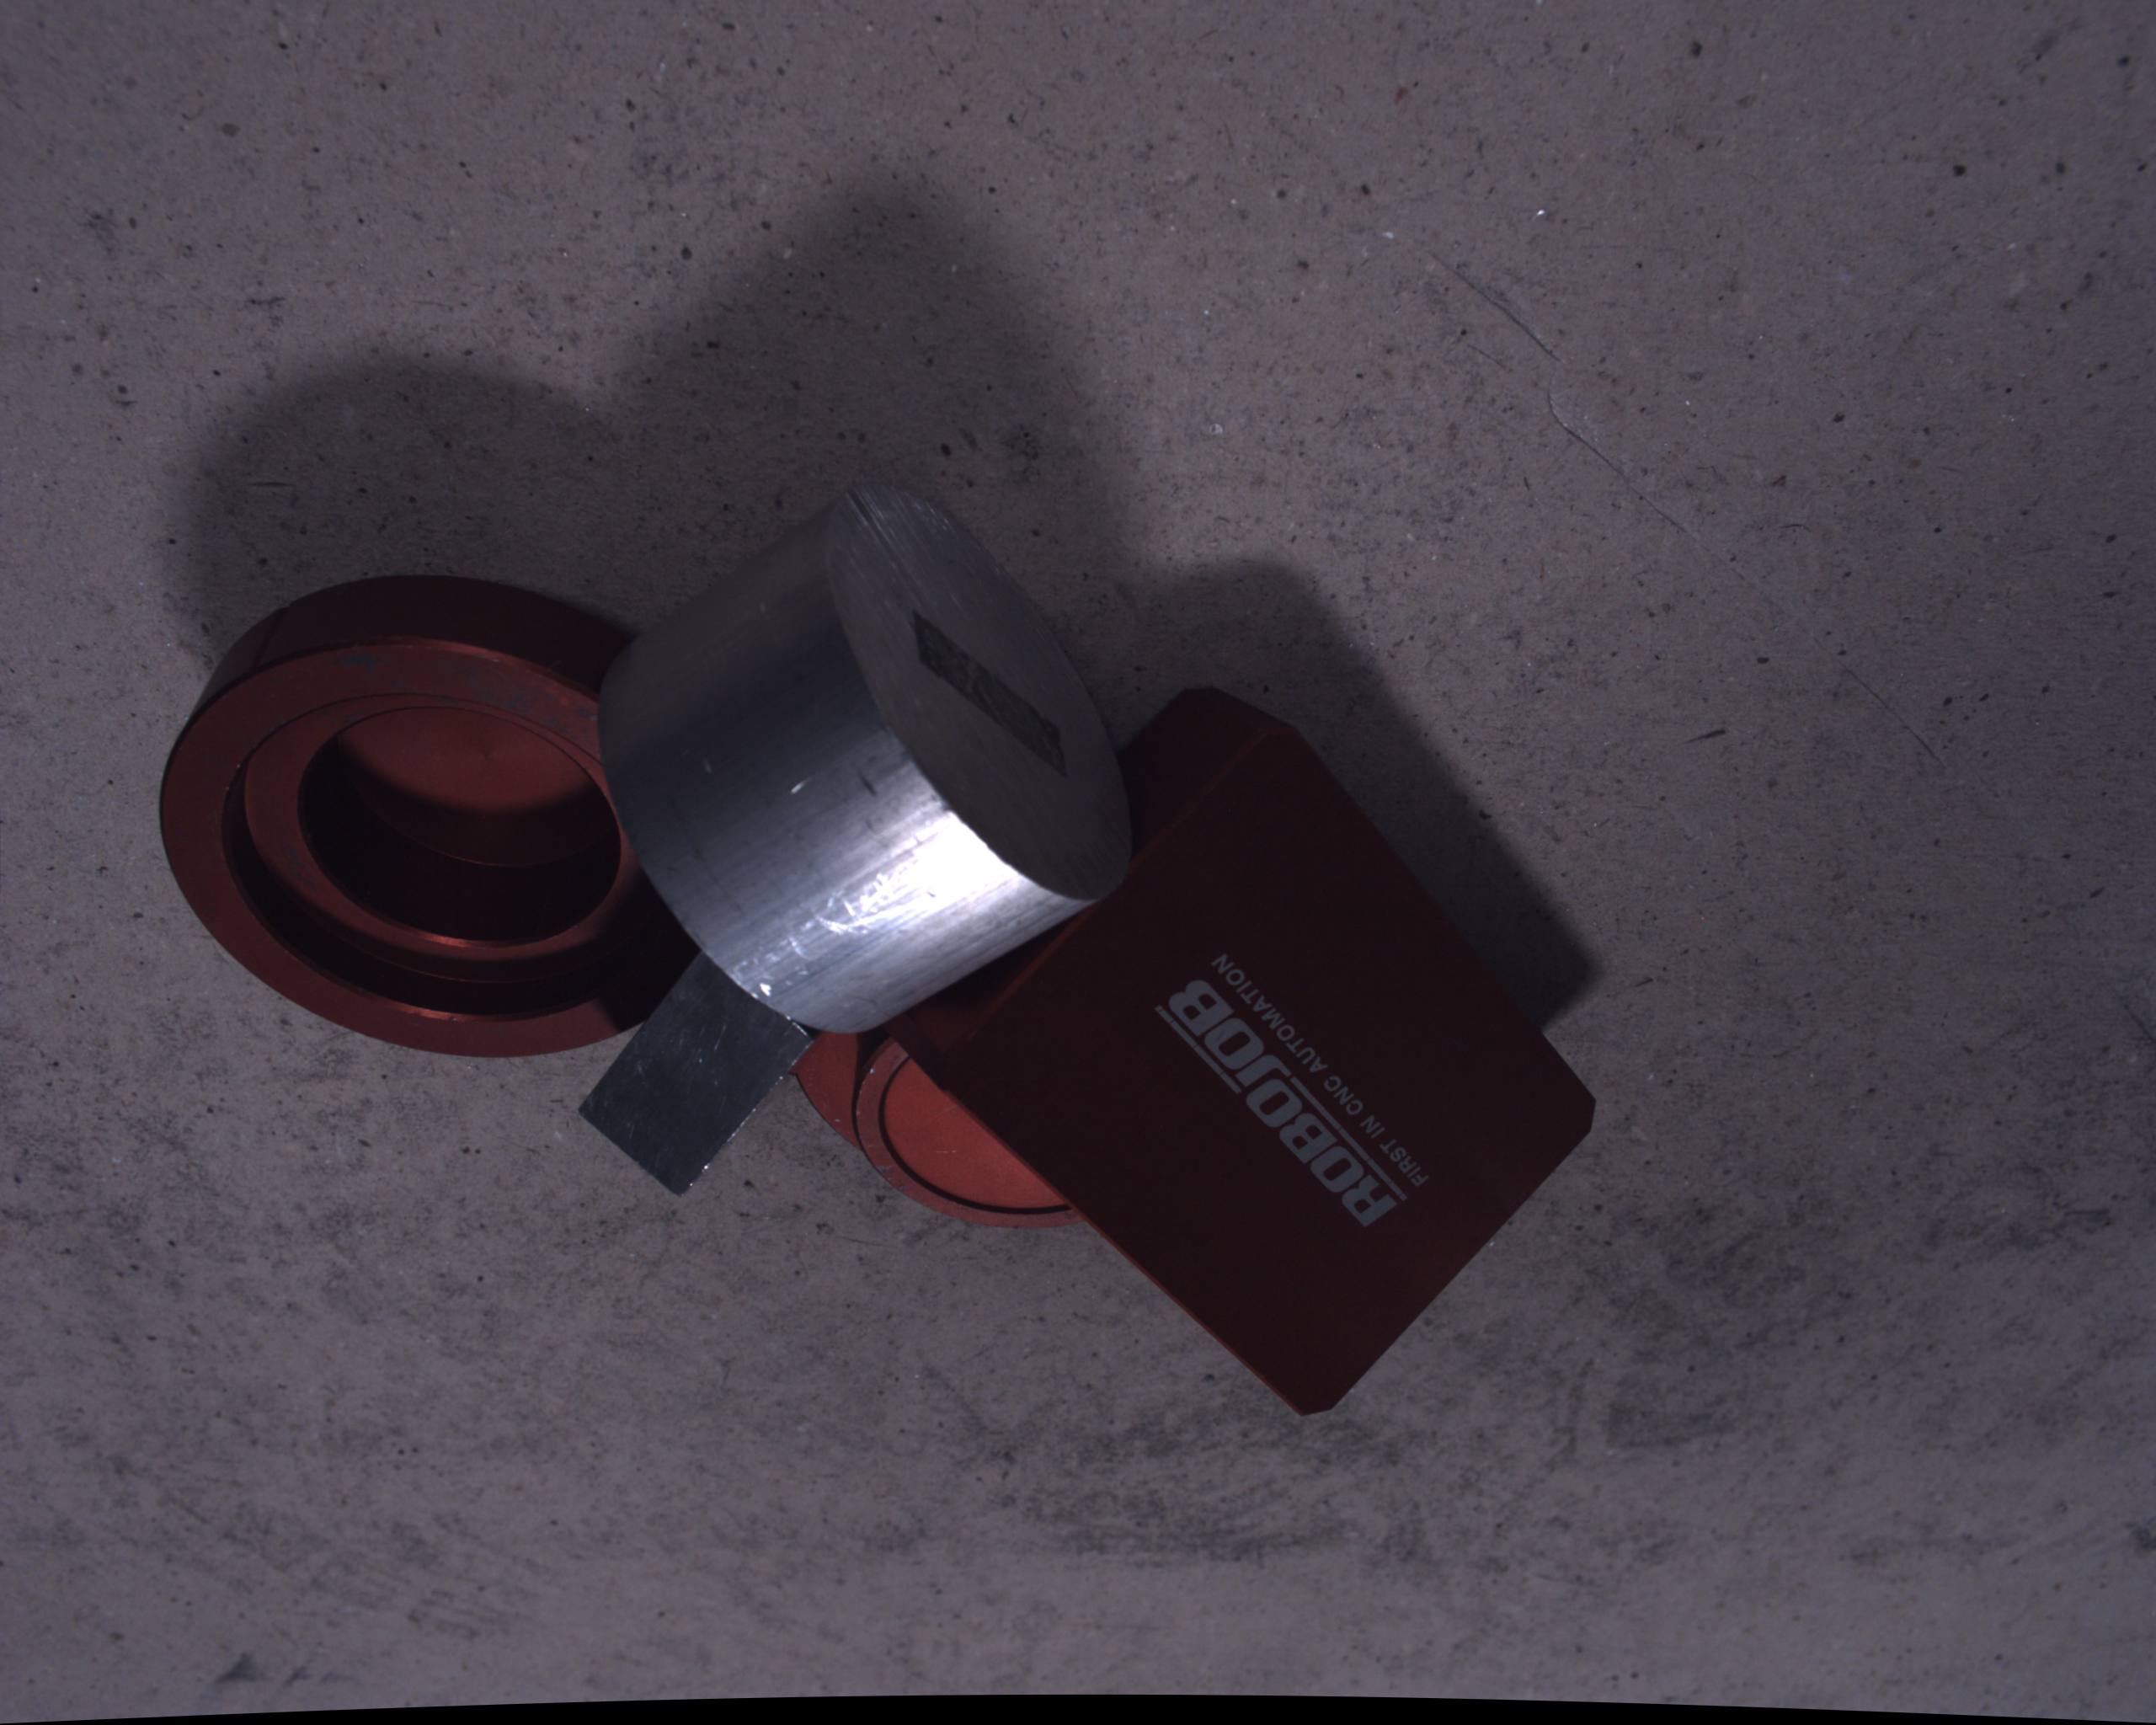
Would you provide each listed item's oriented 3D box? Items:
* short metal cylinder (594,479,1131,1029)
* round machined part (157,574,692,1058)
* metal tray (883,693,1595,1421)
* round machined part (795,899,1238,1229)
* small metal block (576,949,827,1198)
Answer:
[{"bbox_3d":[-0.035,-0.018,0.358,0.050,0.080,0.080,-31,124,23],"label":"short metal cylinder"},{"bbox_3d":[-0.112,-0.012,0.385,0.099,0.042,0.097,-1,130,0],"label":"round machined part"},{"bbox_3d":[0.036,0.041,0.412,0.090,0.030,0.130,-46,122,-5],"label":"metal tray"},{"bbox_3d":[-0.011,0.038,0.430,0.099,0.042,0.097,-1,130,0],"label":"round machined part"},{"bbox_3d":[-0.060,0.028,0.391,0.025,0.050,0.050,41,122,-1],"label":"small metal block"}]
